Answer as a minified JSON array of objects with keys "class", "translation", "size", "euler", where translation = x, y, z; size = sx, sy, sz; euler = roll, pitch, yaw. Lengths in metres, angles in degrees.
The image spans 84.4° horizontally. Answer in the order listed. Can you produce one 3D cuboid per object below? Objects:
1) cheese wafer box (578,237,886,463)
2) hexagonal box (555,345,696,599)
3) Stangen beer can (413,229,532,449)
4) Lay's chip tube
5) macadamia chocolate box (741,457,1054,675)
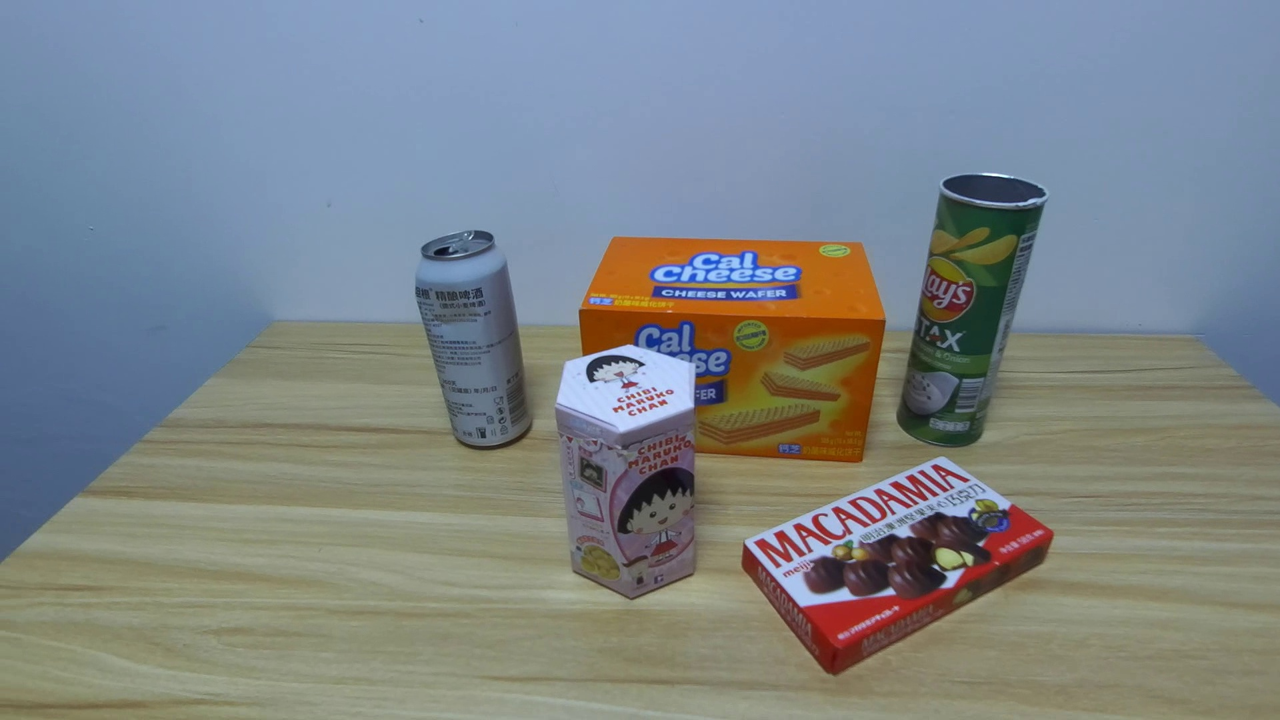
[{"class":"cheese wafer box","translation":[0.075,-0.015,0.589],"size":[0.221,0.129,0.148],"euler":[3,32,7]},{"class":"hexagonal box","translation":[-0.004,0.071,0.441],"size":[0.091,0.136,0.083],"euler":[-17,34,-22]},{"class":"Stangen beer can","translation":[-0.131,-0.016,0.562],"size":[0.070,0.173,0.069],"euler":[-7,29,-6]},{"class":"Lay's chip tube","translation":[0.248,-0.034,0.538],"size":[0.071,0.203,0.071],"euler":[-2,31,1]},{"class":"macadamia chocolate box","translation":[0.165,0.123,0.456],"size":[0.178,0.027,0.095],"euler":[-16,33,-21]}]
